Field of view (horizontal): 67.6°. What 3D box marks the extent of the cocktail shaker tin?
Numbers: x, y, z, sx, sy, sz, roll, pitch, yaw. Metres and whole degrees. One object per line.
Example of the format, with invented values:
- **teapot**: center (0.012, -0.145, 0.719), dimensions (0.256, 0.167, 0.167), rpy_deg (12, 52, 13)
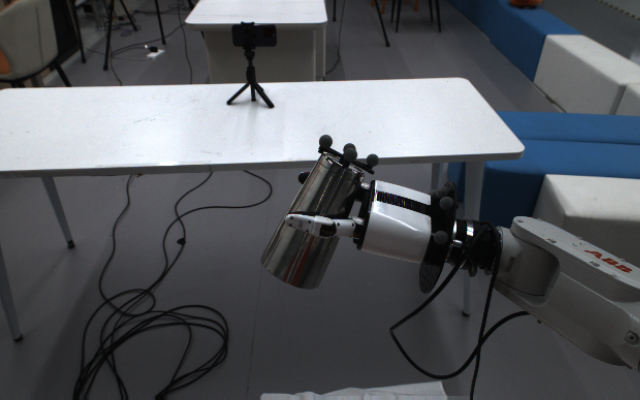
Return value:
- **cocktail shaker tin**: center (-0.003, 0.024, 0.665), dimensions (0.093, 0.170, 0.093), rpy_deg (24, 13, -6)
